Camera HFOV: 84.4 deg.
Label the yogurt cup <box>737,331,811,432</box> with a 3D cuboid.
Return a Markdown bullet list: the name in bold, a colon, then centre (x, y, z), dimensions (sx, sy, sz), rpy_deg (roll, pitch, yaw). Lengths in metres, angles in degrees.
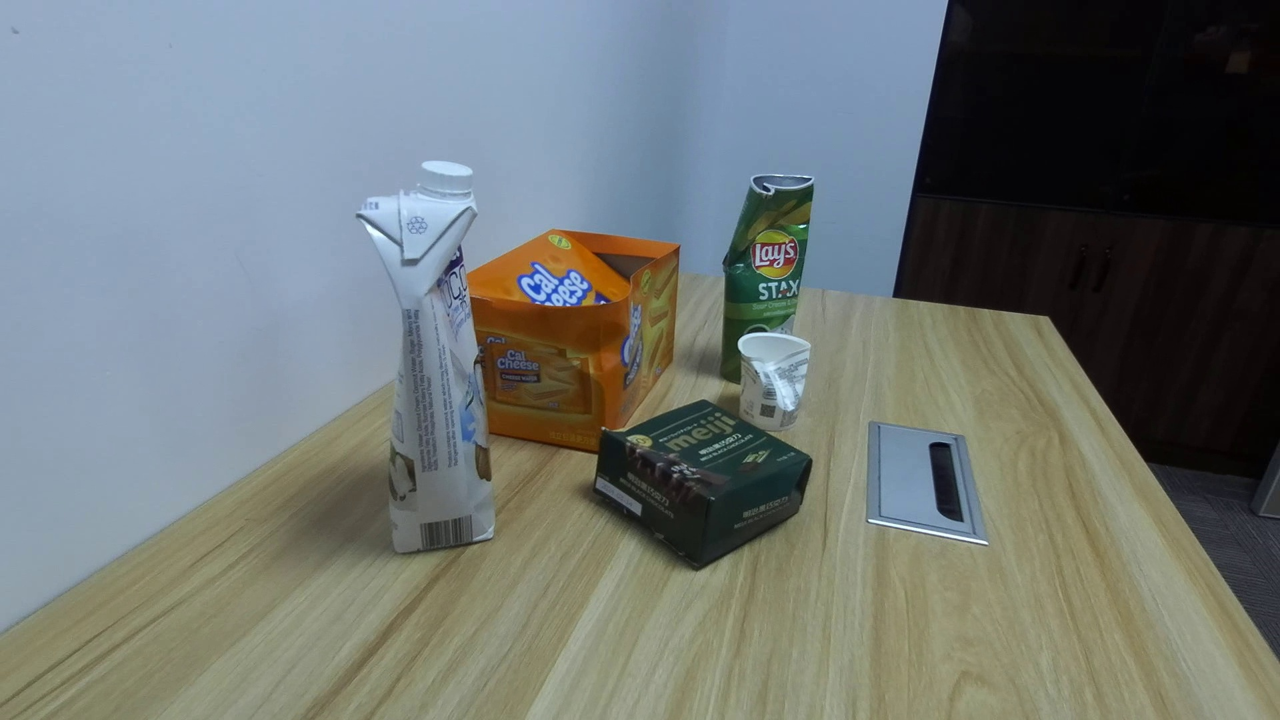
- **yogurt cup**: centre (0.115, 0.019, 0.628), dimensions (0.067, 0.070, 0.067), rpy_deg (0, 24, 0)

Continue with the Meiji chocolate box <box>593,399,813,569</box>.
- **Meiji chocolate box**: centre (0.045, 0.081, 0.505), dimensions (0.116, 0.058, 0.122), rpy_deg (-15, 29, -40)

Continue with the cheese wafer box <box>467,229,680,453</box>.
- **cheese wafer box**: centre (-0.060, -0.027, 0.657), dimensions (0.152, 0.132, 0.231), rpy_deg (10, 24, 14)

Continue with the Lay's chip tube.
- **Lay's chip tube**: centre (0.122, -0.077, 0.689), dimensions (0.069, 0.201, 0.077), rpy_deg (10, 28, 15)

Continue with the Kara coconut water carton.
- **Kara coconut water carton**: centre (-0.129, 0.001, 0.443), dimensions (0.069, 0.238, 0.115), rpy_deg (-3, 24, -15)
